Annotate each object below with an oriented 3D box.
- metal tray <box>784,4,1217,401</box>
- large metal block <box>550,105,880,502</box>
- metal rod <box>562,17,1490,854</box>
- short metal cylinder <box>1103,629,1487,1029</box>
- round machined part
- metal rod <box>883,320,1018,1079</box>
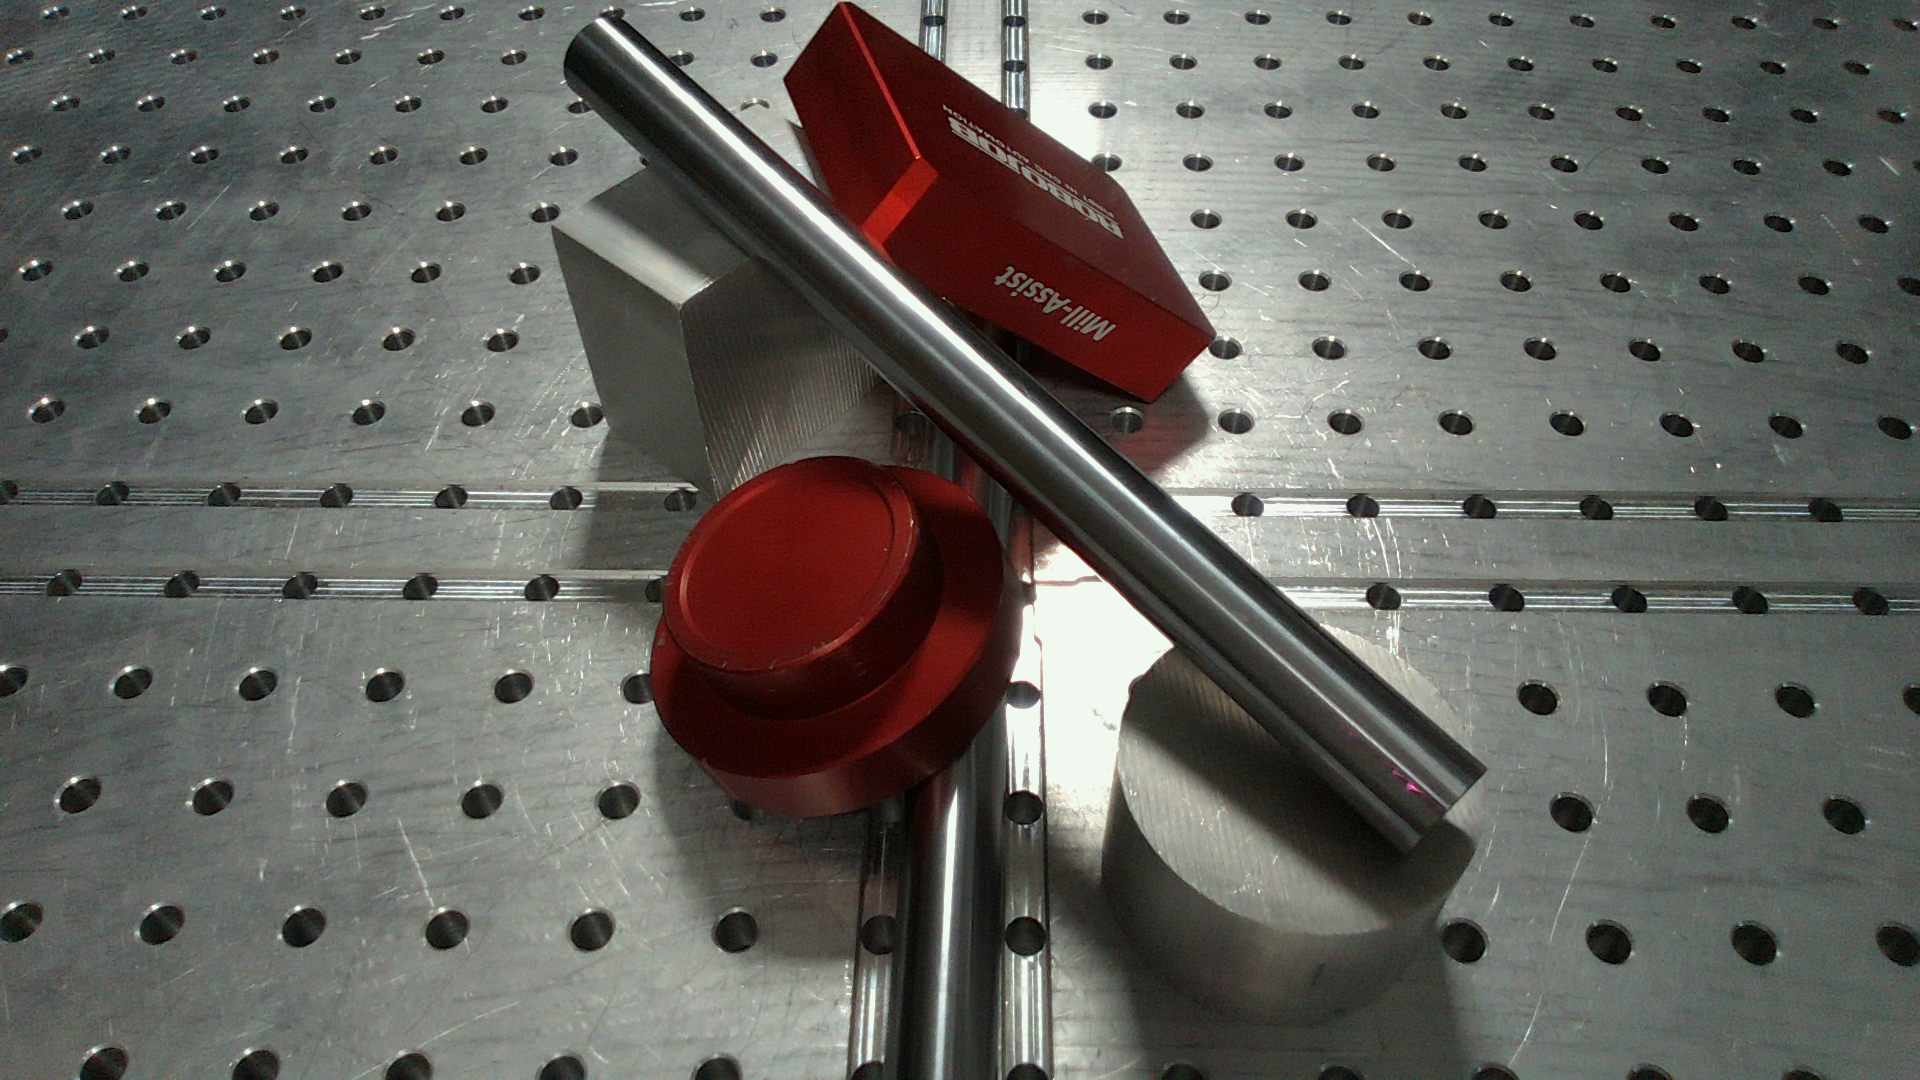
[{"bbox_3d":[0.015,-0.102,0.426,0.131,0.030,0.090,20,35,-41],"label":"metal tray"},{"bbox_3d":[-0.068,-0.071,0.420,0.050,0.080,0.080,34,58,25],"label":"large metal block"},{"bbox_3d":[-0.001,-0.041,0.337,0.025,0.025,0.299,-36,66,-26],"label":"metal rod"},{"bbox_3d":[0.076,0.066,0.323,0.080,0.050,0.080,0,50,0],"label":"short metal cylinder"},{"bbox_3d":[-0.035,0.017,0.349,0.098,0.042,0.098,-11,48,13],"label":"round machined part"},{"bbox_3d":[0.002,0.010,0.386,0.025,0.025,0.300,2,50,2],"label":"metal rod"}]
